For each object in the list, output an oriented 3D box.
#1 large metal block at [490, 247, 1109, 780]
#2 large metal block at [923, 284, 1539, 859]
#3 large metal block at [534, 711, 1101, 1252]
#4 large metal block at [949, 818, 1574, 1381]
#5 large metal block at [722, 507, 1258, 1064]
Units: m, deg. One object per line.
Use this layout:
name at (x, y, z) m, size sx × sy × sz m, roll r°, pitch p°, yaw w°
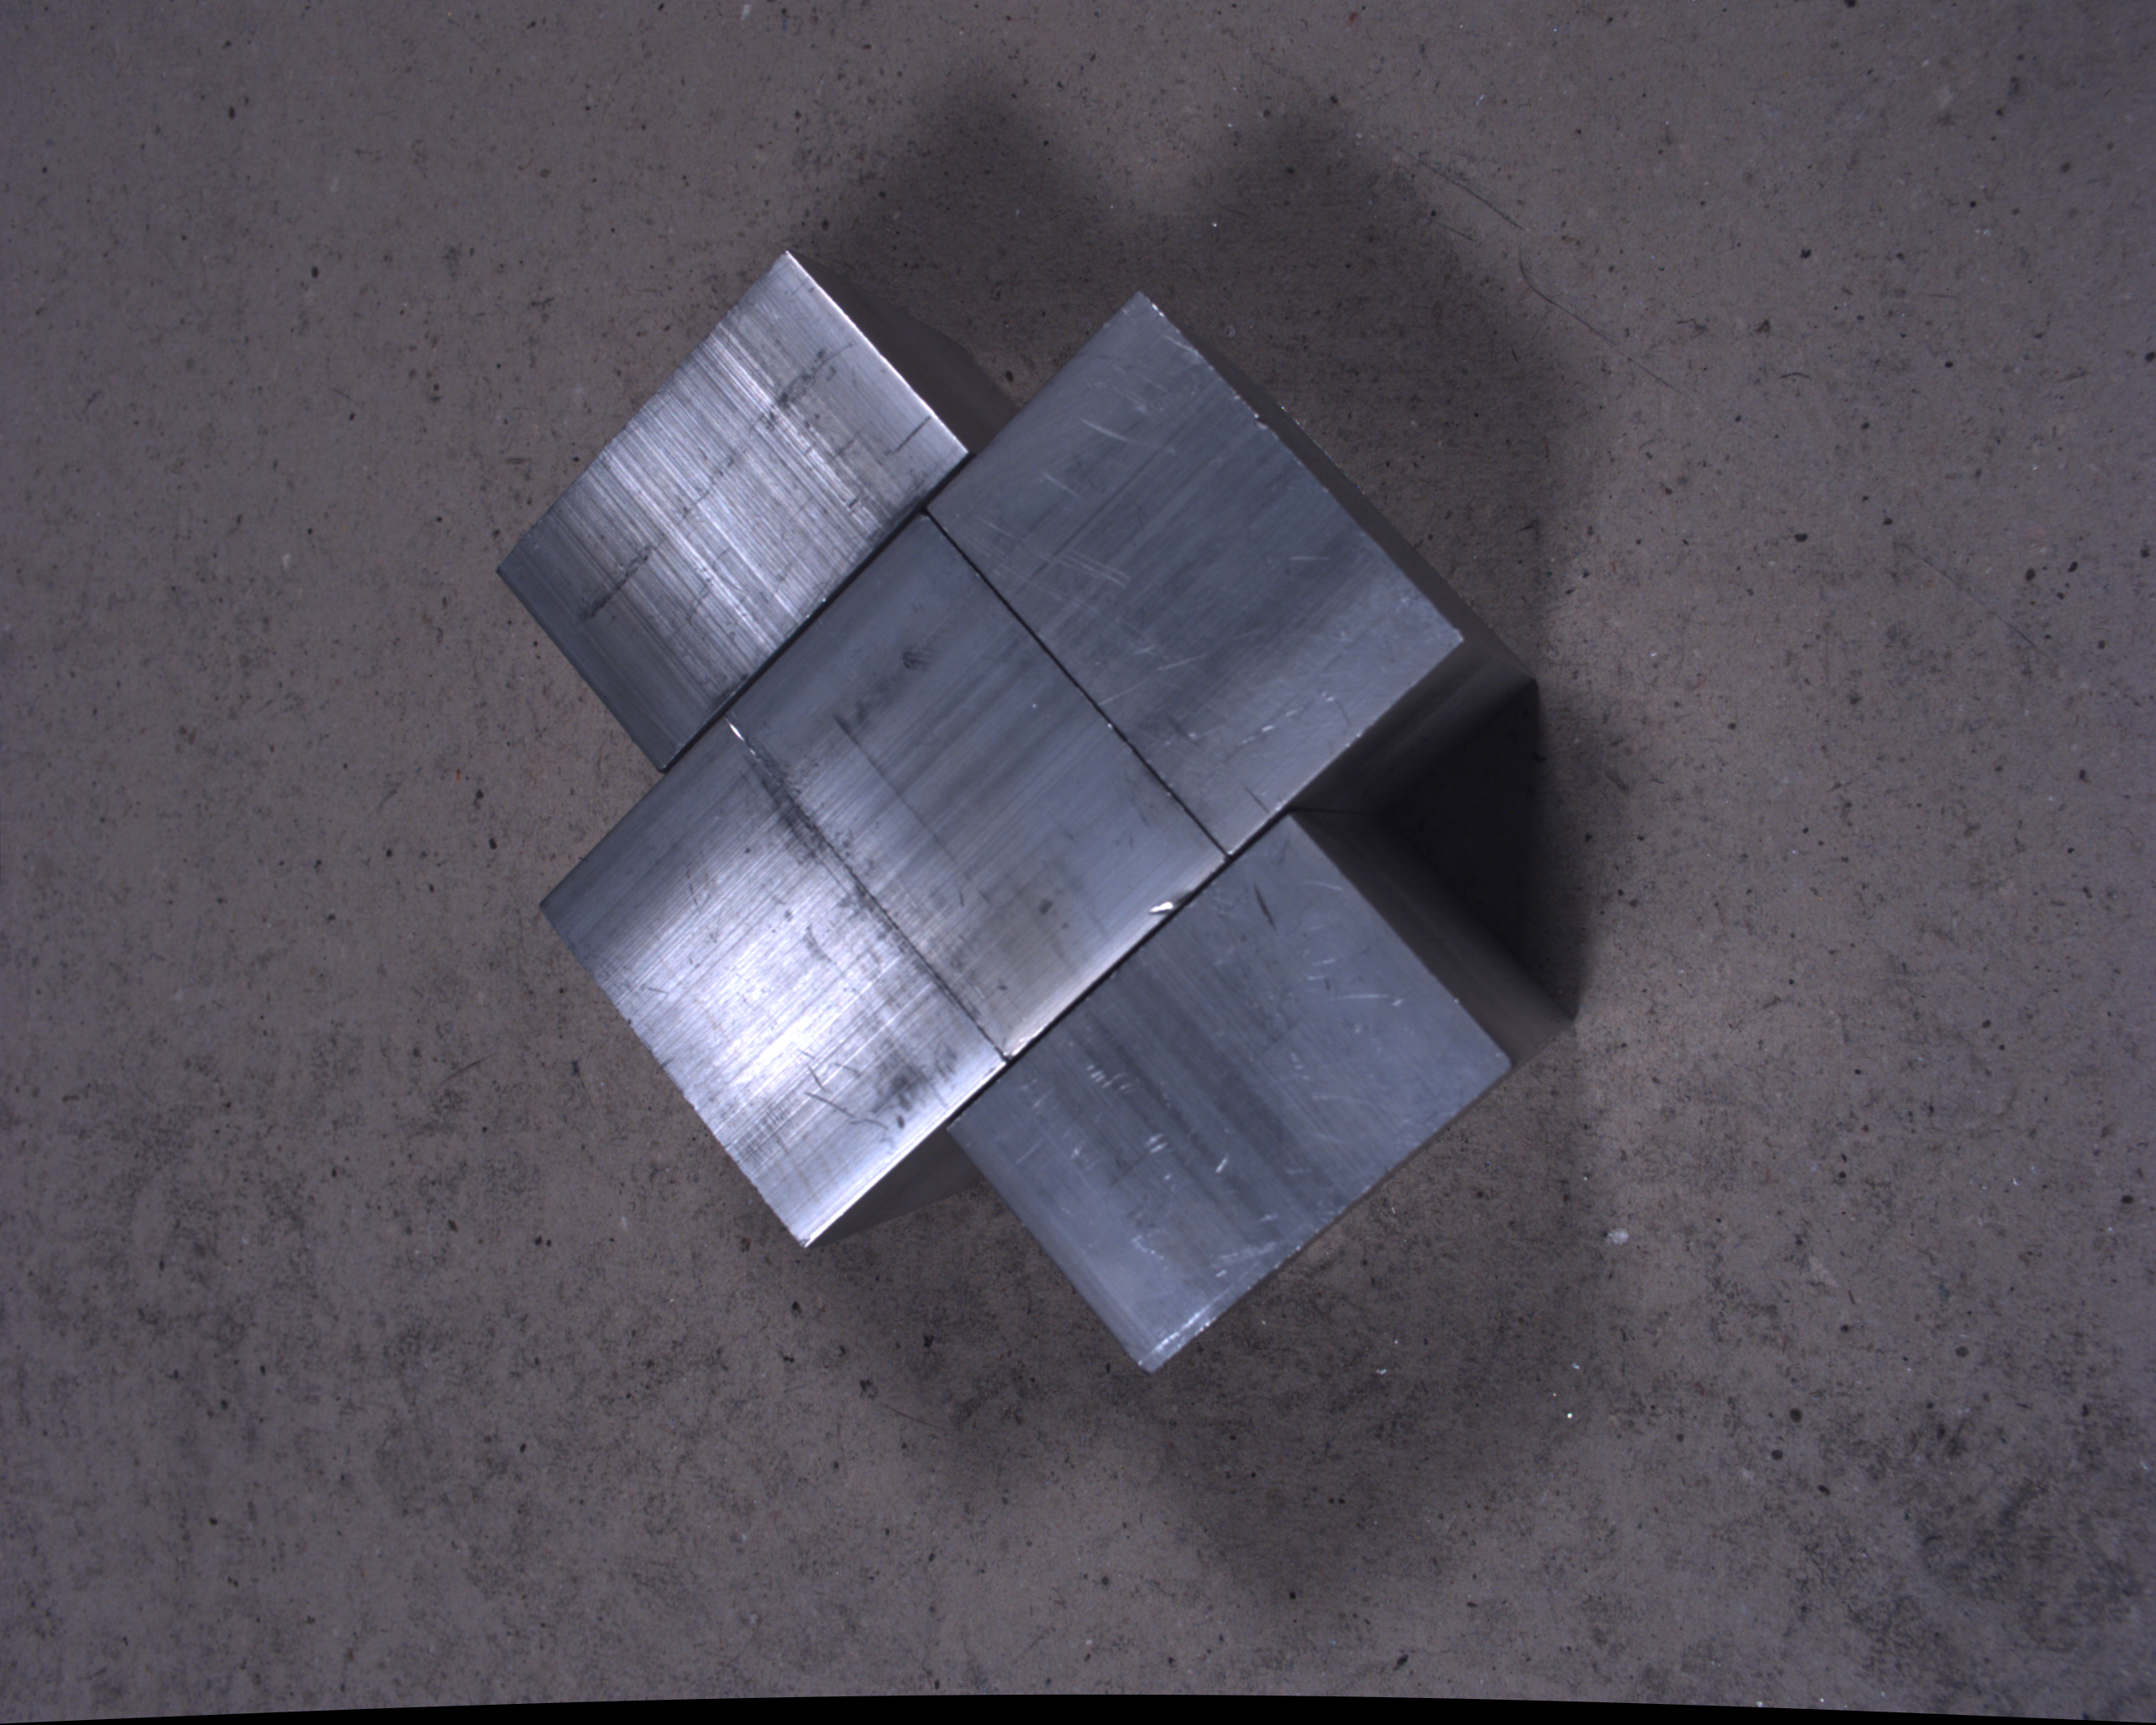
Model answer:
large metal block at (-0.048, -0.060, 0.397) m, size 0.080 × 0.080 × 0.050 m, roll -44°, pitch 77°, yaw 14°
large metal block at (0.031, -0.047, 0.370) m, size 0.050 × 0.080 × 0.080 m, roll -44°, pitch 77°, yaw 15°
large metal block at (-0.040, 0.020, 0.395) m, size 0.050 × 0.080 × 0.080 m, roll -44°, pitch 77°, yaw 15°
large metal block at (0.036, 0.038, 0.368) m, size 0.080 × 0.080 × 0.050 m, roll -44°, pitch 77°, yaw 14°
large metal block at (-0.005, -0.013, 0.382) m, size 0.050 × 0.080 × 0.080 m, roll -44°, pitch 77°, yaw 15°
